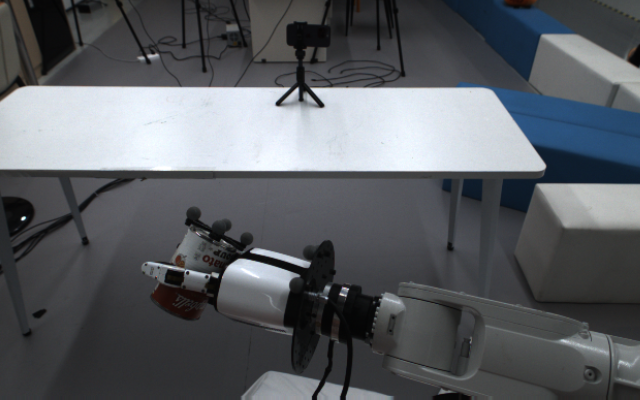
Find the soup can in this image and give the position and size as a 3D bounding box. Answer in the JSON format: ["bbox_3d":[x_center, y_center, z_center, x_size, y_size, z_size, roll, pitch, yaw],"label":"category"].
[{"bbox_3d":[-0.156,0.092,0.607,0.067,0.101,0.067,29,-2,1],"label":"soup can"}]
